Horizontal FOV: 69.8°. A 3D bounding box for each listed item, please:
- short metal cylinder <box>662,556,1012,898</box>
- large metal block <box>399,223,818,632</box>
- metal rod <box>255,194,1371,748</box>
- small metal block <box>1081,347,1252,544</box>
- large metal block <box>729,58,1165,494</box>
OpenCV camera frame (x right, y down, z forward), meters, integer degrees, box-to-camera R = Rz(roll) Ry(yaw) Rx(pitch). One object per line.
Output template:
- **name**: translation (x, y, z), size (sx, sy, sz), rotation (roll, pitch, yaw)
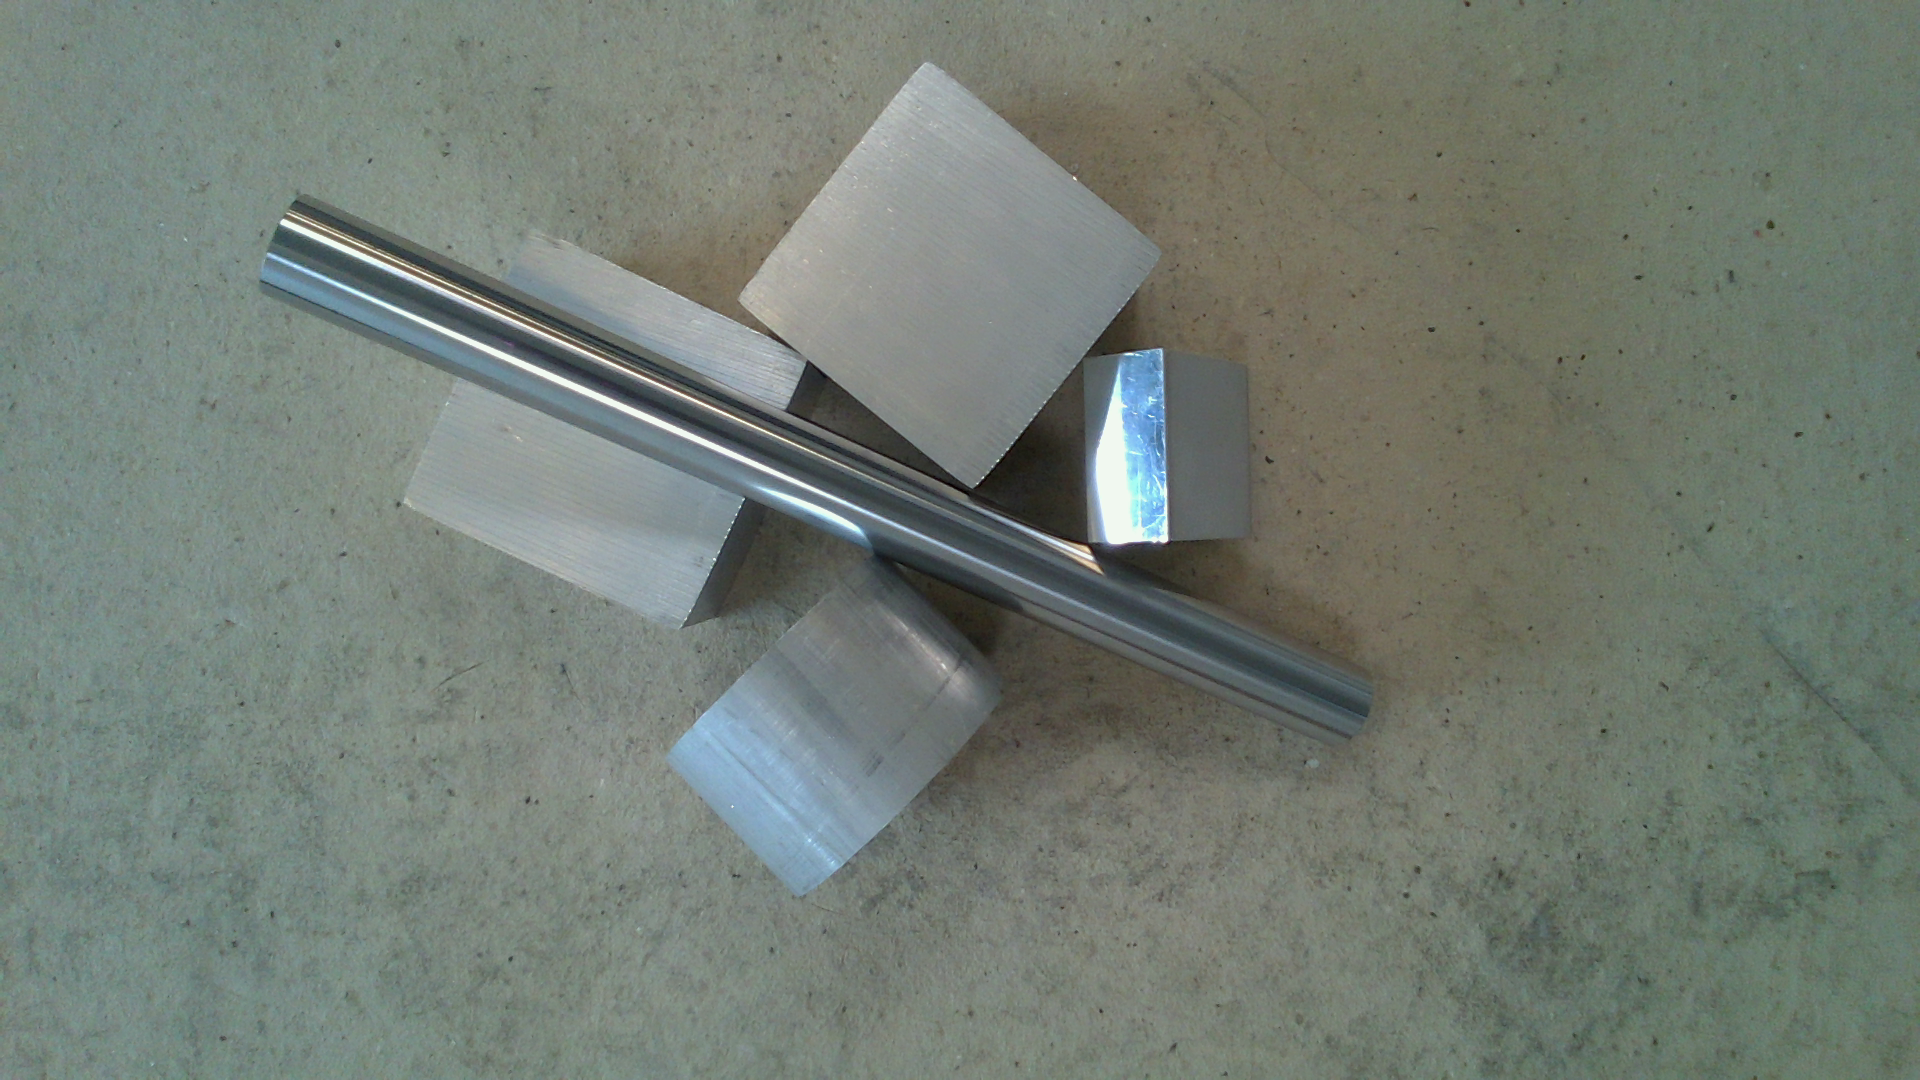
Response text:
- **short metal cylinder**: translation (-0.032, 0.048, 0.367), size (0.080, 0.080, 0.050), rotation (-44, 90, 0)
- **large metal block**: translation (-0.092, -0.029, 0.382), size (0.080, 0.050, 0.080), rotation (25, 90, 0)
- **metal rod**: translation (-0.022, -0.009, 0.354), size (0.301, 0.025, 0.025), rotation (24, 90, -17)
- **small metal block**: translation (0.058, -0.025, 0.381), size (0.025, 0.050, 0.050), rotation (-2, 90, 36)
- **large metal block**: translation (-0.003, -0.068, 0.380), size (0.080, 0.050, 0.080), rotation (39, 90, 0)
